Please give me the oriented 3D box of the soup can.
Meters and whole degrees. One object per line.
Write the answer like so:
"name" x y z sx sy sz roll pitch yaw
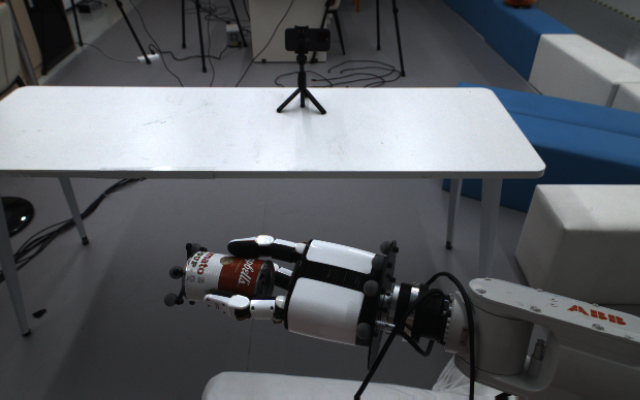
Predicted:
"soup can" -0.115 0.105 0.627 0.101 0.067 0.067 6 35 13
